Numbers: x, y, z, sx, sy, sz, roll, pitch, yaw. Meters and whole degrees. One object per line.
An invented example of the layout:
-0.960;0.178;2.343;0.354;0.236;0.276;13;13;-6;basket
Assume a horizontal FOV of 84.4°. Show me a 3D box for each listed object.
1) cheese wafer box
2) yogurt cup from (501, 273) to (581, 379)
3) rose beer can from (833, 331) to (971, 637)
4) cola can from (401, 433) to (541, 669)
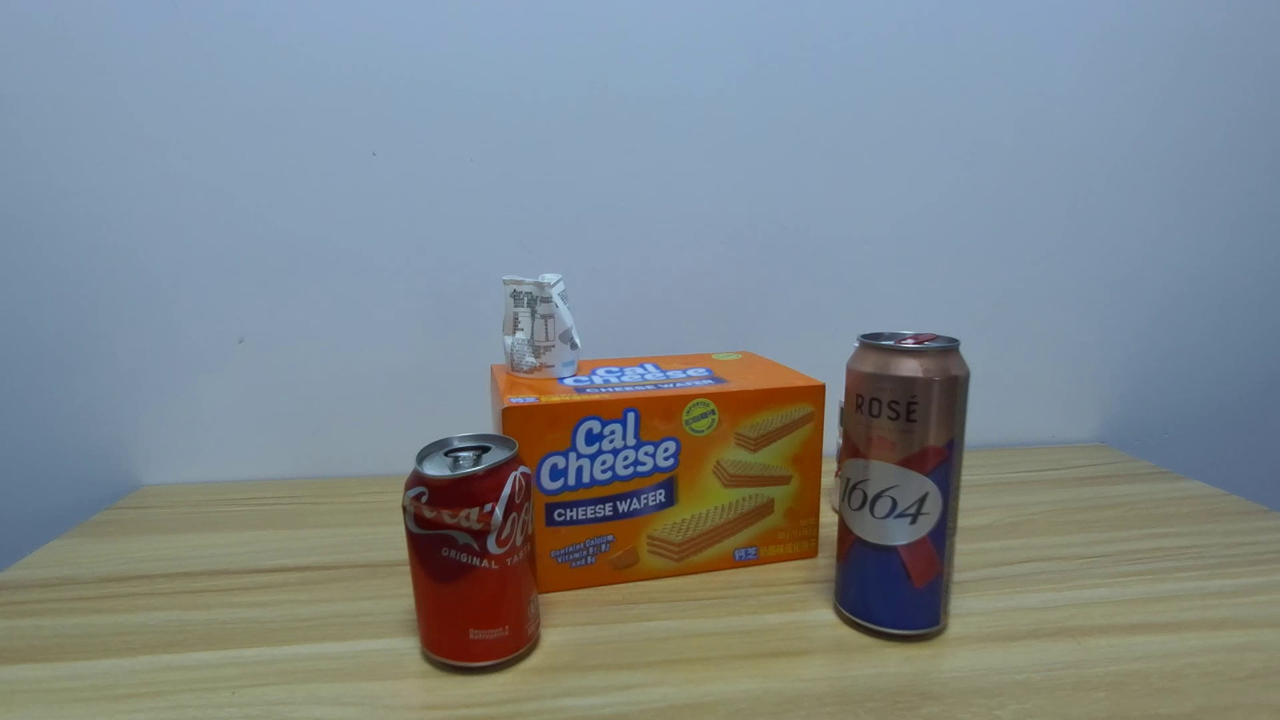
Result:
0.006;0.072;0.528;0.222;0.129;0.148;-3;11;-15;cheese wafer box
-0.073;-0.026;0.520;0.055;0.072;0.055;7;12;31;yogurt cup
0.150;0.073;0.410;0.068;0.169;0.068;1;8;0;rose beer can
-0.087;0.103;0.386;0.072;0.117;0.066;7;11;37;cola can
